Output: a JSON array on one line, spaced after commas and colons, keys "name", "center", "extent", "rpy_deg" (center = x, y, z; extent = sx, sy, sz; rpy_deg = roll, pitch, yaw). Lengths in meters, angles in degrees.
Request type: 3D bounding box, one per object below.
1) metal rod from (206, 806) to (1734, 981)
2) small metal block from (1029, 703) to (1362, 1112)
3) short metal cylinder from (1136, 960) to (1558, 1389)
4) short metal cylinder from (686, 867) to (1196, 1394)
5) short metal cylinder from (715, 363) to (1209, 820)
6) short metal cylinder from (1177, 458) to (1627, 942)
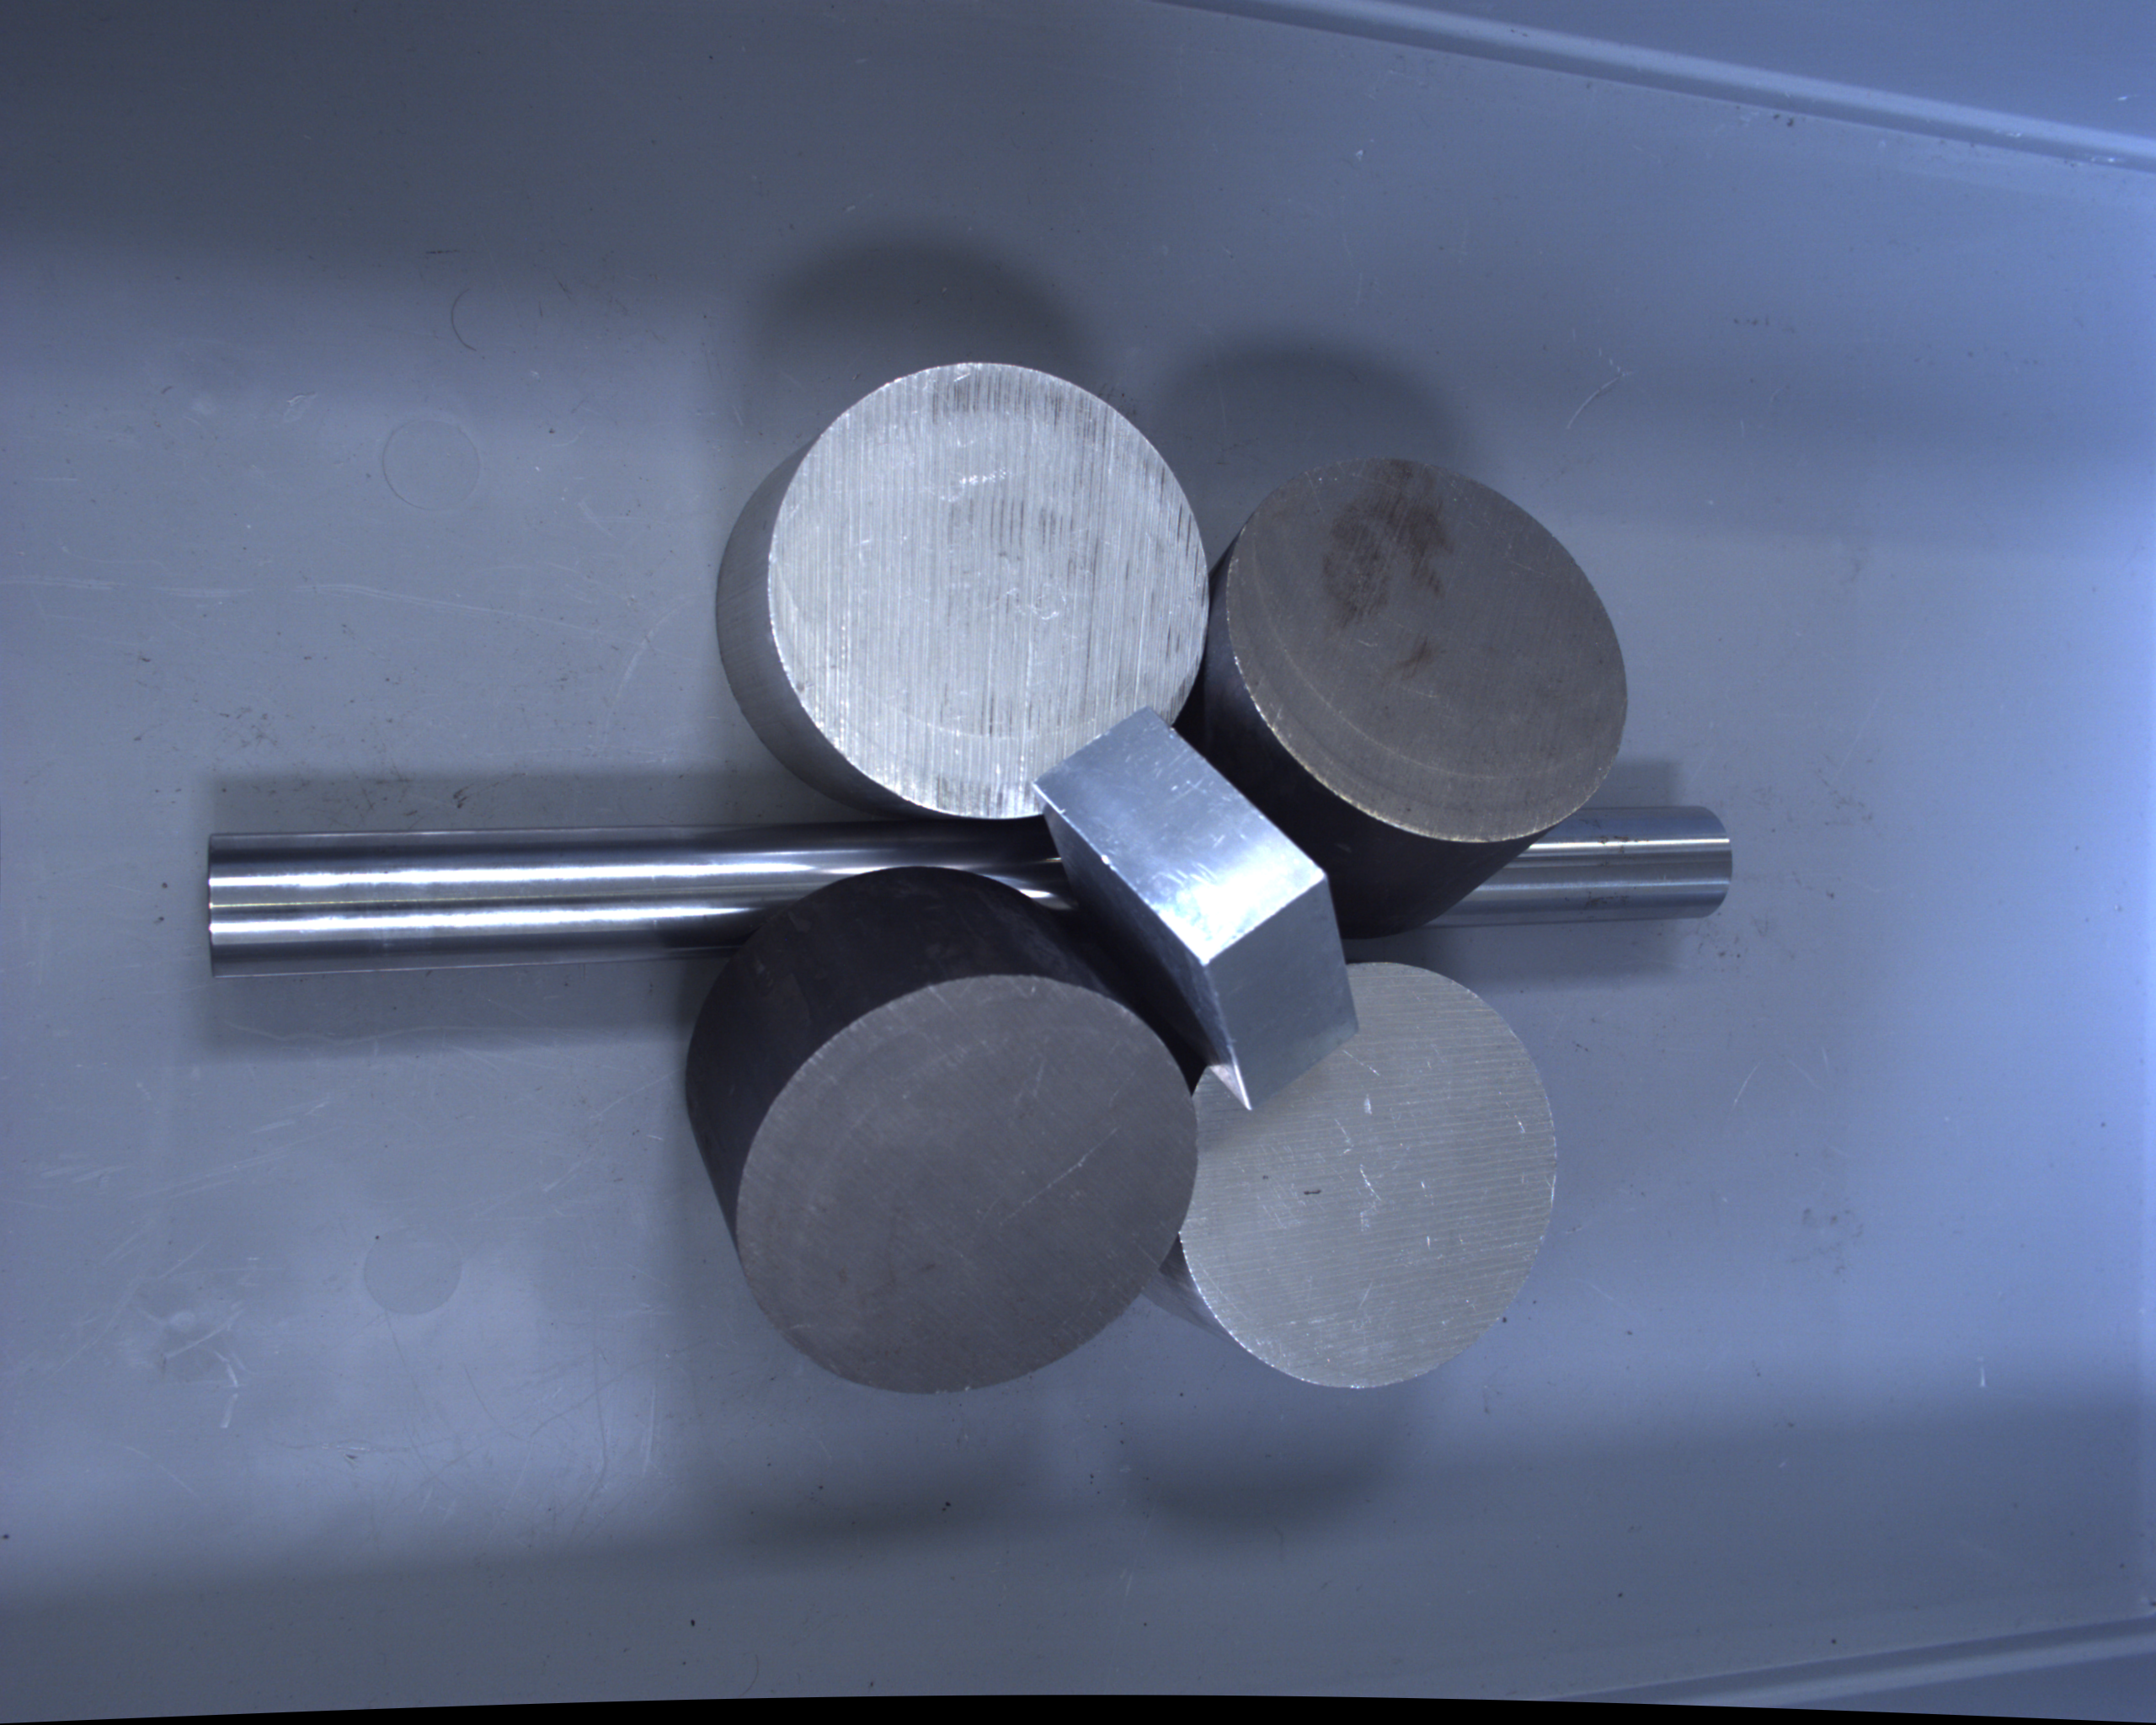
[{"name": "metal rod", "center": [-0.006, 0.004, 0.406], "extent": [0.303, 0.025, 0.025], "rpy_deg": [-2, 91, -20]}, {"name": "small metal block", "center": [0.021, 0.008, 0.365], "extent": [0.025, 0.050, 0.050], "rpy_deg": [-36, 144, -11]}, {"name": "short metal cylinder", "center": [0.046, 0.058, 0.413], "extent": [0.081, 0.050, 0.079], "rpy_deg": [0, 90, -20]}, {"name": "short metal cylinder", "center": [-0.026, 0.047, 0.373], "extent": [0.081, 0.050, 0.079], "rpy_deg": [-8, 113, -18]}, {"name": "short metal cylinder", "center": [-0.023, -0.047, 0.387], "extent": [0.081, 0.050, 0.079], "rpy_deg": [0, 90, -20]}, {"name": "short metal cylinder", "center": [0.057, -0.030, 0.403], "extent": [0.081, 0.050, 0.080], "rpy_deg": [8, 64, -16]}]
